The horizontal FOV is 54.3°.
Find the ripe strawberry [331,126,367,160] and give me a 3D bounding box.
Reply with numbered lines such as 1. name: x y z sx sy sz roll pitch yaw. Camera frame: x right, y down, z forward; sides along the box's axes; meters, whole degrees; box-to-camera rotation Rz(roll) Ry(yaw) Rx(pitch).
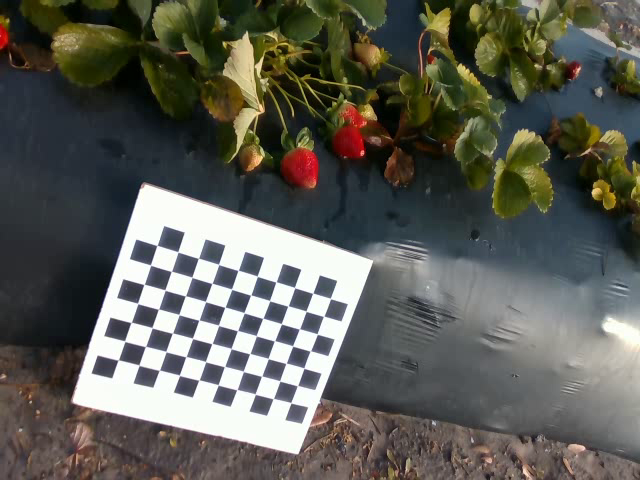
1. ripe strawberry: 0.039 -0.124 0.805 0.055 0.044 0.042 45 -1 35

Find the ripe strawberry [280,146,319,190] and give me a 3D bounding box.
1. ripe strawberry: -0.022 -0.087 0.757 0.050 0.065 0.050 -21 -41 -6
